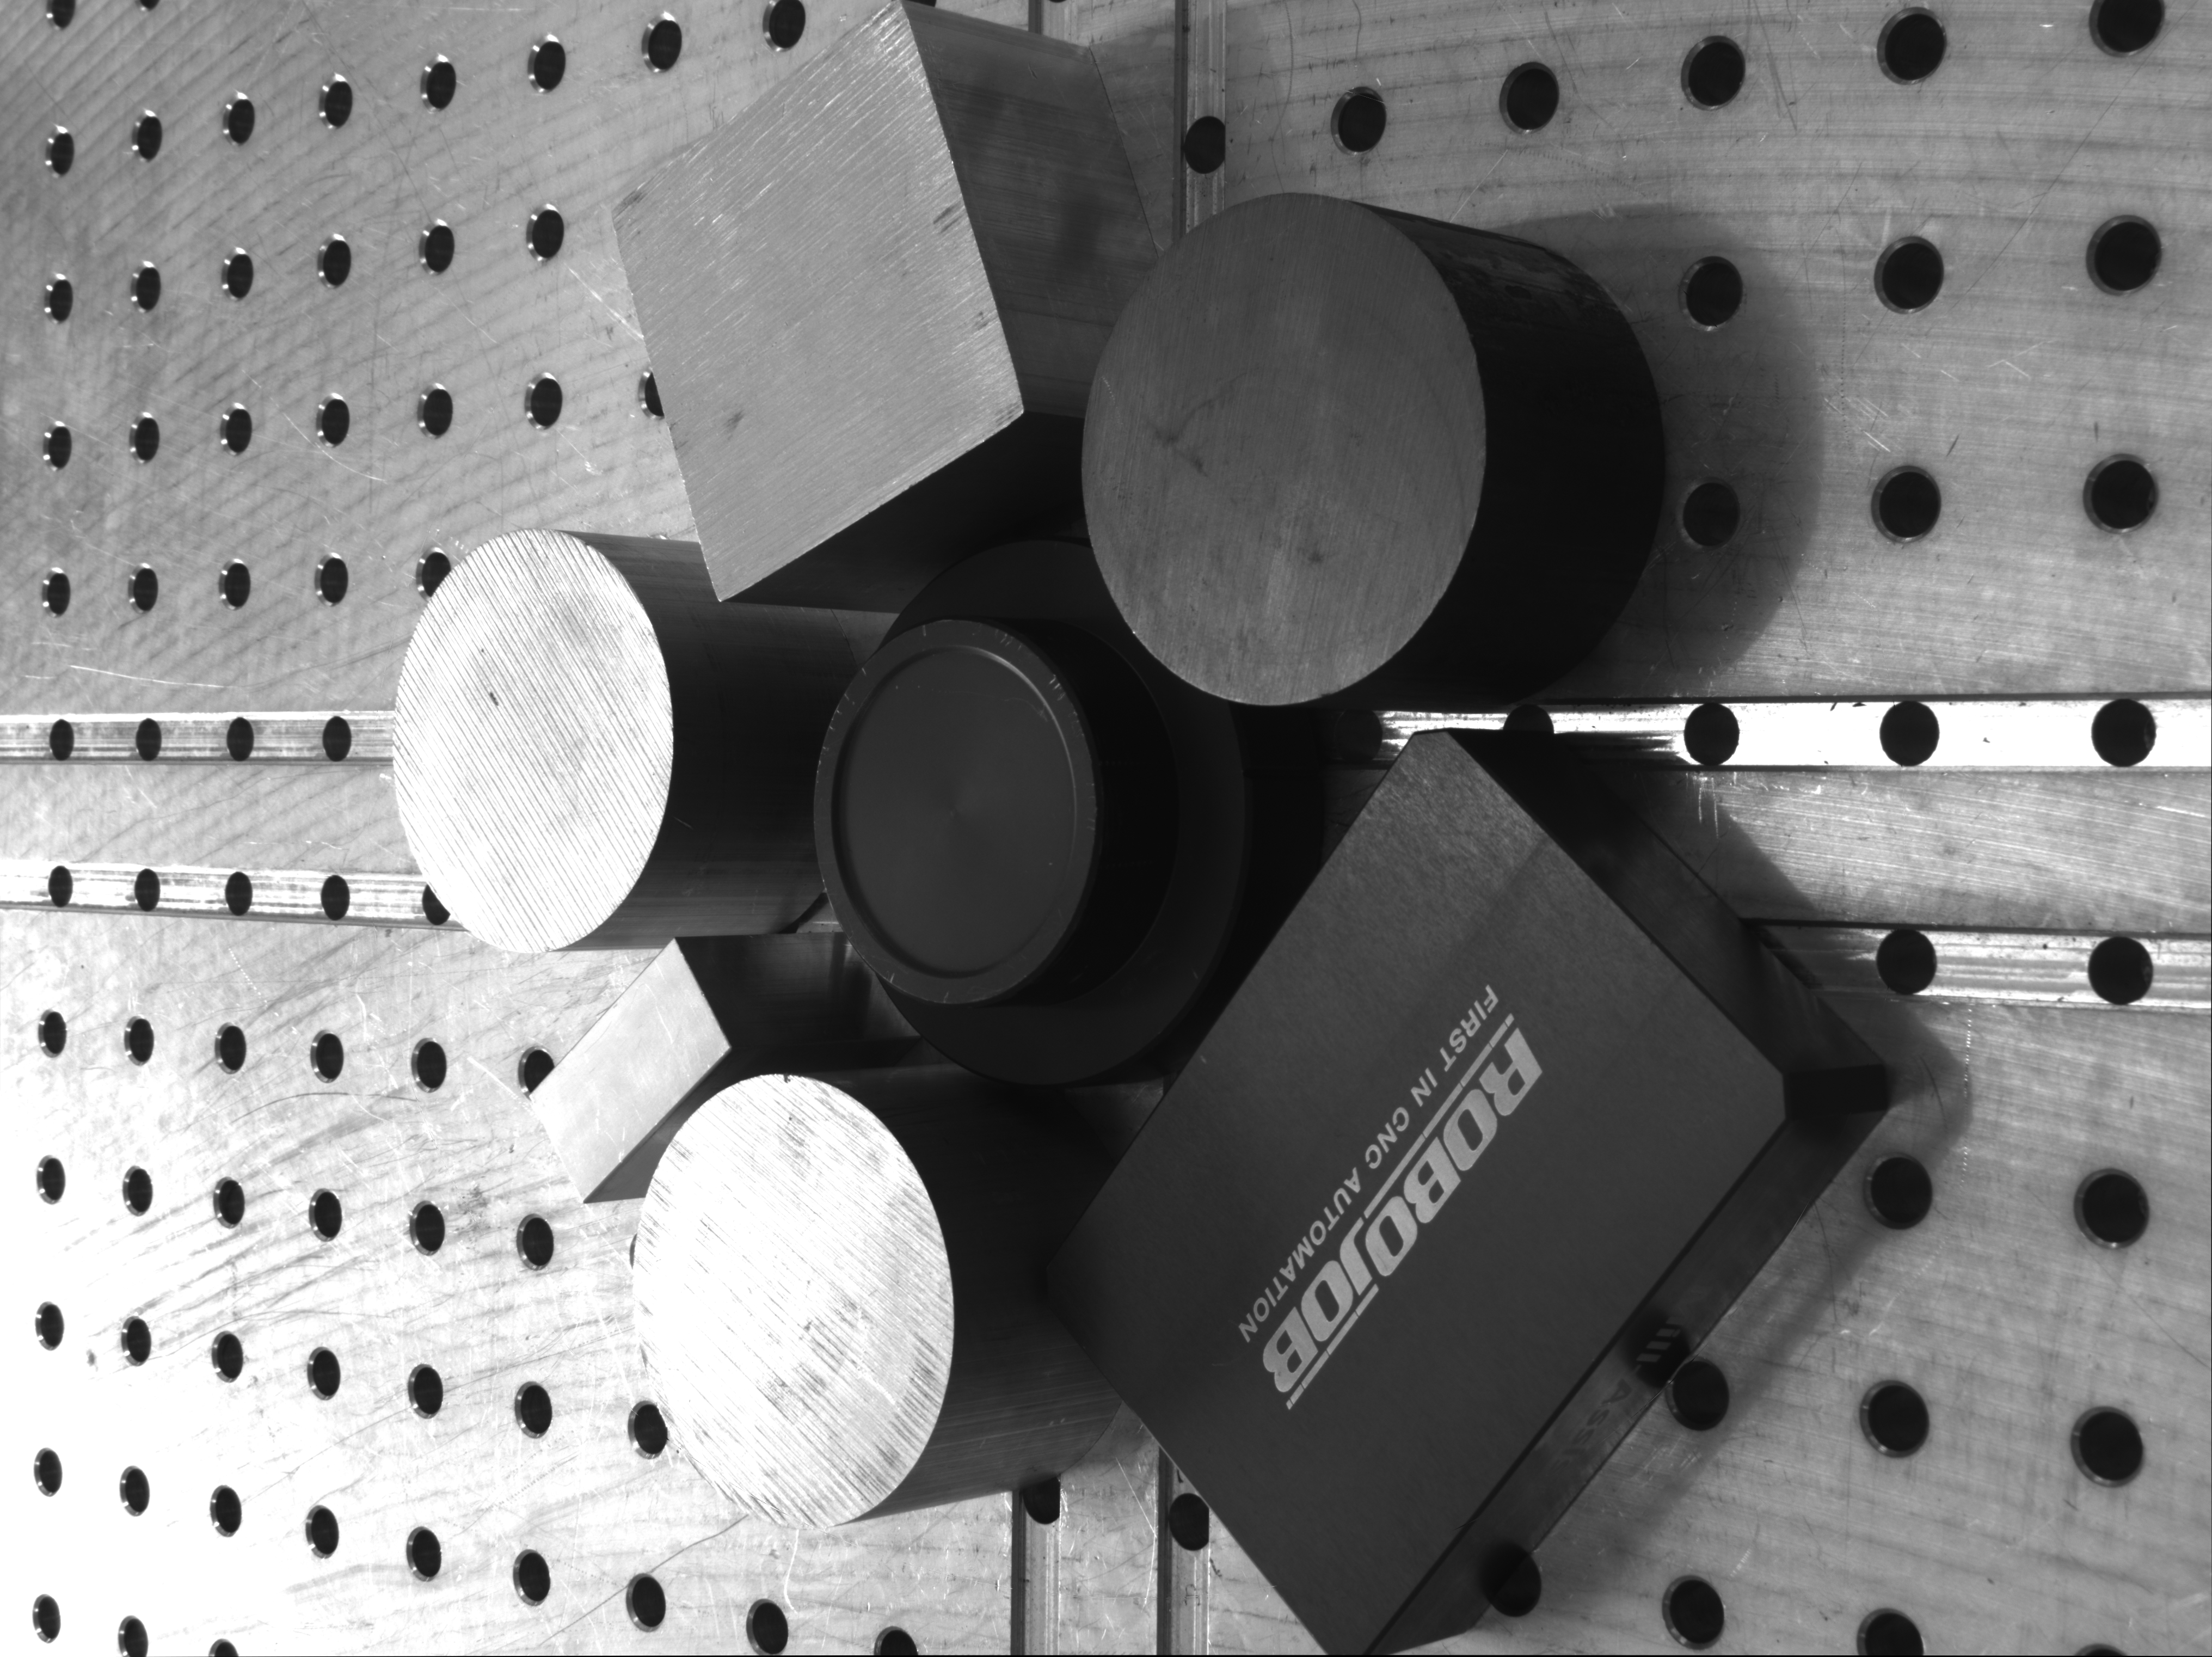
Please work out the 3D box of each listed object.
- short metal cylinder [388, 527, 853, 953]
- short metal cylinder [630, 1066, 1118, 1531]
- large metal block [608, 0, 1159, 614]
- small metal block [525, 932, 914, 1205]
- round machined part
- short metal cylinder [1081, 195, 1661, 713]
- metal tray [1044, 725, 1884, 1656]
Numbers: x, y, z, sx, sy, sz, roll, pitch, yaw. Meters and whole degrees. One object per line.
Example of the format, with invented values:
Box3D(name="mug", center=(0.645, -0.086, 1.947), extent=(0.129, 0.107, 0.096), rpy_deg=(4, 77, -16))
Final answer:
Box3D(name="short metal cylinder", center=(-0.093, -0.017, 0.709), extent=(0.080, 0.050, 0.080), rpy_deg=(0, 90, 40))
Box3D(name="short metal cylinder", center=(-0.040, 0.083, 0.665), extent=(0.080, 0.050, 0.080), rpy_deg=(0, 90, 40))
Box3D(name="large metal block", center=(-0.036, -0.092, 0.663), extent=(0.080, 0.050, 0.080), rpy_deg=(-27, 73, 37))
Box3D(name="small metal block", center=(-0.072, 0.045, 0.691), extent=(0.050, 0.050, 0.025), rpy_deg=(-45, 63, 31))
Box3D(name="round machined part", center=(-0.014, -0.003, 0.648), extent=(0.098, 0.042, 0.098), rpy_deg=(0, 90, 40))
Box3D(name="short metal cylinder", center=(0.043, -0.059, 0.595), extent=(0.080, 0.050, 0.080), rpy_deg=(0, 90, 40))
Box3D(name="metal tray", center=(0.054, 0.059, 0.598), extent=(0.090, 0.030, 0.130), rpy_deg=(48, 118, 30))
